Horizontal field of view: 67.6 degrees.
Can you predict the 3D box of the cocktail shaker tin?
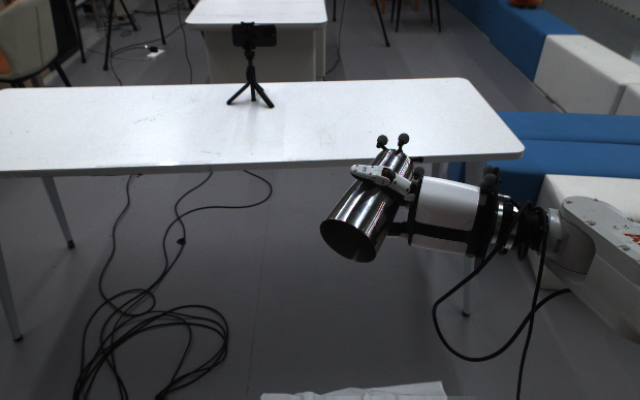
[{"bbox_3d":[0.083,-0.004,0.733,0.093,0.093,0.170,19,55,22],"label":"cocktail shaker tin"}]
